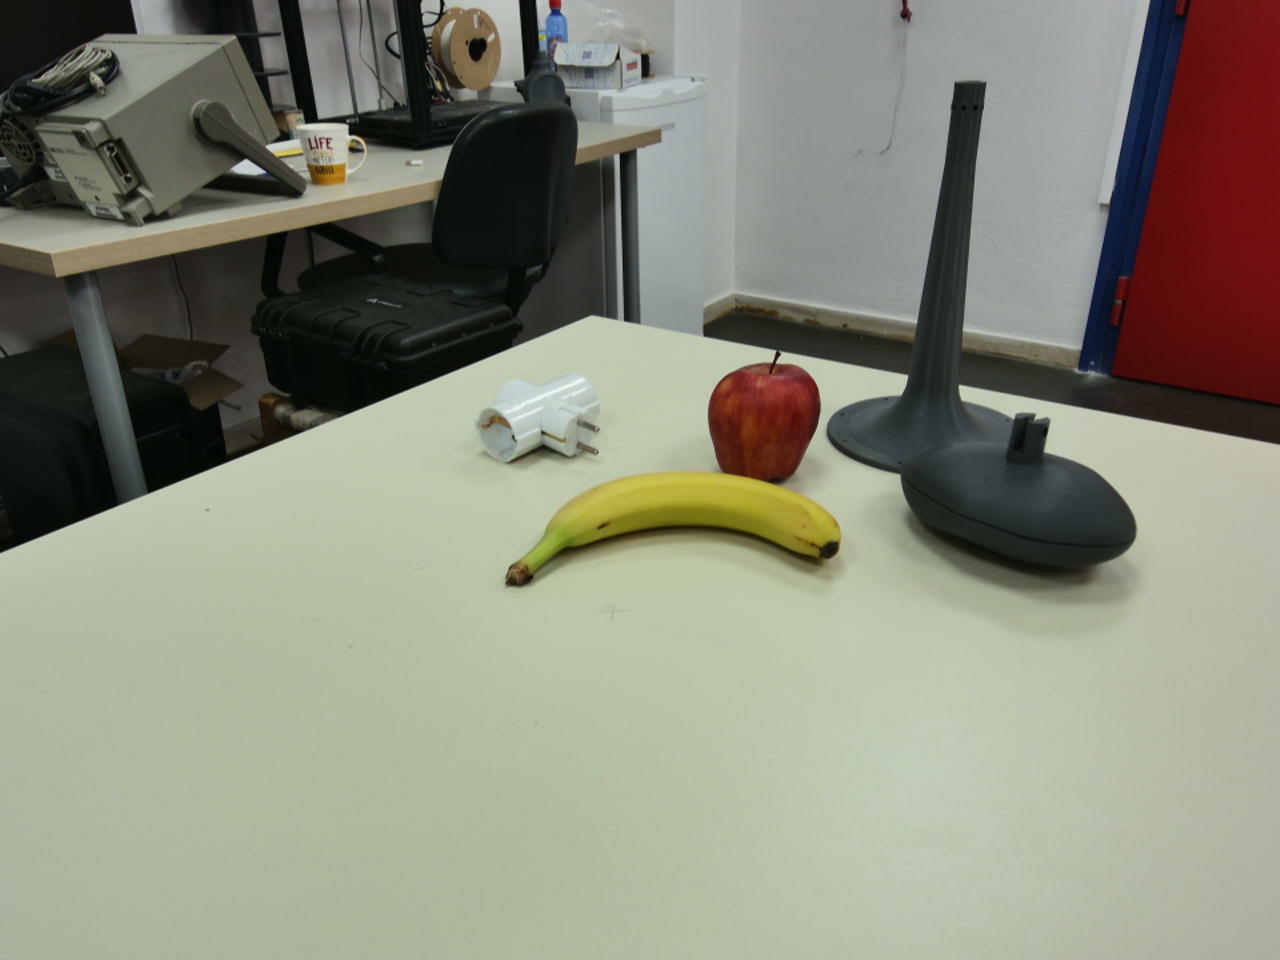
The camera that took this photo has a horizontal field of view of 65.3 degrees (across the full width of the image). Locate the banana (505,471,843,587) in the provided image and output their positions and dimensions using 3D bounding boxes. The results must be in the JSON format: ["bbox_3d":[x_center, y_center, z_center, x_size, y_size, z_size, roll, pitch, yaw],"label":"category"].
[{"bbox_3d":[0.019,0.025,0.617,0.196,0.041,0.094,0,25,0],"label":"banana"}]
